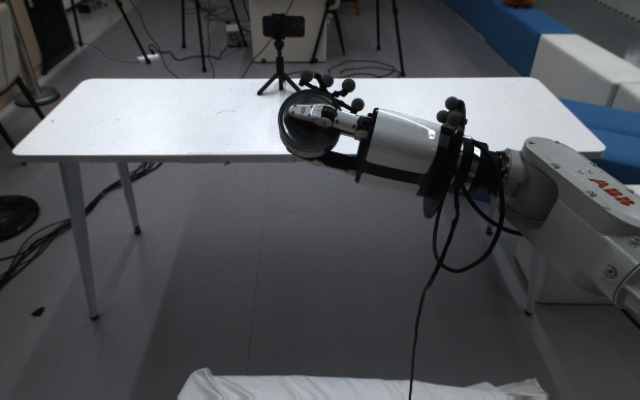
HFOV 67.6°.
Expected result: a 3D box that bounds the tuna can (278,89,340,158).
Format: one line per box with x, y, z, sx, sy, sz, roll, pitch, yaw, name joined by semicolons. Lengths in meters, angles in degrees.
-0.013;-0.101;0.642;0.085;0.034;0.085;1;76;-4;tuna can
